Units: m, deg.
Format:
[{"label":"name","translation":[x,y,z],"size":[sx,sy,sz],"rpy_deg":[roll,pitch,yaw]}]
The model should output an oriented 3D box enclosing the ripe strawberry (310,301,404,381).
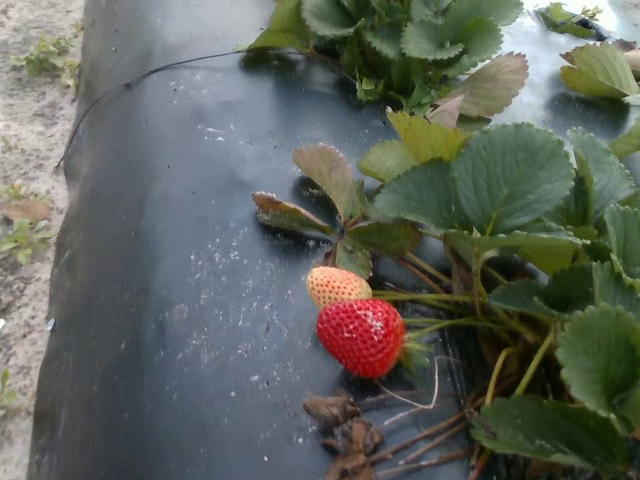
[{"label":"ripe strawberry","translation":[0.016,0.037,0.245],"size":[0.041,0.034,0.033],"rpy_deg":[31,-35,-17]}]
